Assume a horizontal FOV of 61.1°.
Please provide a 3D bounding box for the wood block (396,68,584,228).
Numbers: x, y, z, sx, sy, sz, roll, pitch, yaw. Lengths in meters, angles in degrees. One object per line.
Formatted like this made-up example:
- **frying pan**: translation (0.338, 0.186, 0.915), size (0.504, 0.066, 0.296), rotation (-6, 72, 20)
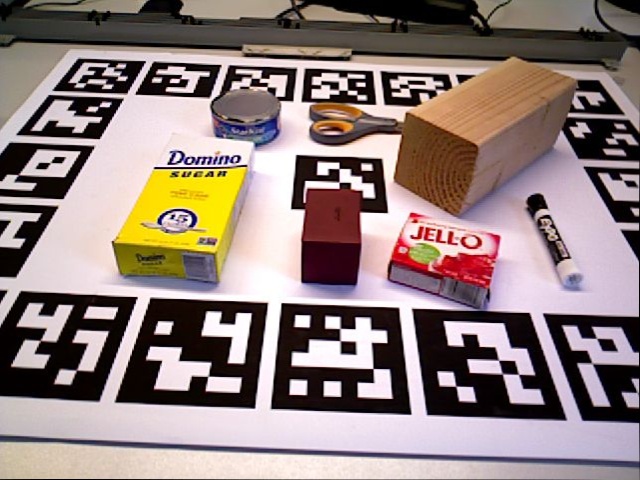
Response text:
- **wood block**: translation (0.190, -0.104, 0.598), size (0.202, 0.093, 0.090), rotation (-32, 53, -30)

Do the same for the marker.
- **marker**: translation (0.220, 0.013, 0.525), size (0.019, 0.020, 0.119), rotation (4, 47, 2)

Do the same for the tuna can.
- **tuna can**: translation (-0.097, -0.143, 0.662), size (0.085, 0.034, 0.084), rotation (0, 45, -1)

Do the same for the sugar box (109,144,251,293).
- **sugar box**: translation (-0.131, -0.028, 0.544), size (0.092, 0.046, 0.173), rotation (7, 45, 4)

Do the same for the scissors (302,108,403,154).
- **scissors**: translation (0.075, -0.130, 0.671), size (0.203, 0.016, 0.086), rotation (7, 45, 9)

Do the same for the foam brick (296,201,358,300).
- **foam brick**: translation (0.007, 0.009, 0.497), size (0.052, 0.052, 0.076), rotation (4, 46, 3)

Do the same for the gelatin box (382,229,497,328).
- **gelatin box**: translation (0.110, 0.032, 0.498), size (0.089, 0.031, 0.071), rotation (17, 47, 15)
